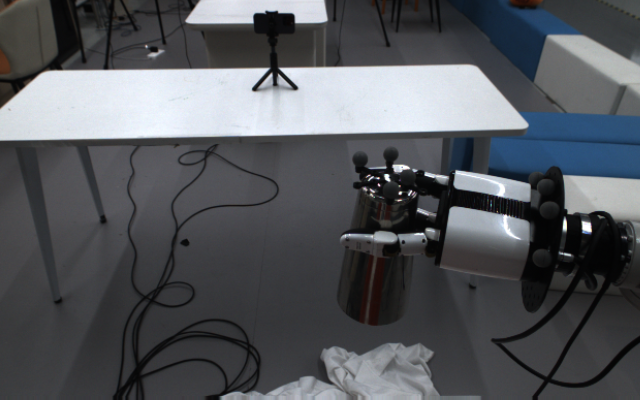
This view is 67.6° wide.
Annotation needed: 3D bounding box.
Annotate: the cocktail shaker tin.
[{"bbox_3d":[0.075,0.053,0.579,0.093,0.170,0.093,2,33,-2],"label":"cocktail shaker tin"}]
